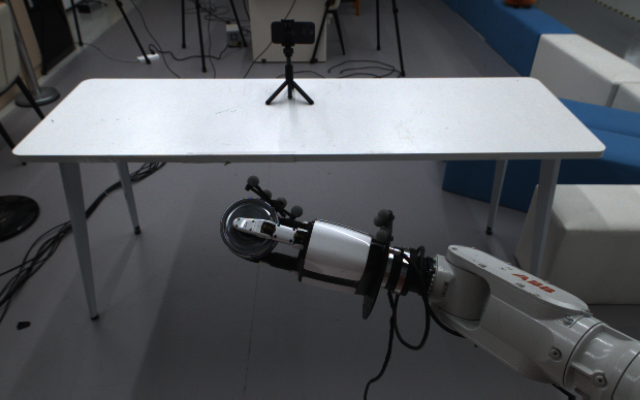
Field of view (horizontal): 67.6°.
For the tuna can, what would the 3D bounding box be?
[{"bbox_3d":[-0.096,0.046,0.692,0.085,0.034,0.085,0,73,-1],"label":"tuna can"}]
